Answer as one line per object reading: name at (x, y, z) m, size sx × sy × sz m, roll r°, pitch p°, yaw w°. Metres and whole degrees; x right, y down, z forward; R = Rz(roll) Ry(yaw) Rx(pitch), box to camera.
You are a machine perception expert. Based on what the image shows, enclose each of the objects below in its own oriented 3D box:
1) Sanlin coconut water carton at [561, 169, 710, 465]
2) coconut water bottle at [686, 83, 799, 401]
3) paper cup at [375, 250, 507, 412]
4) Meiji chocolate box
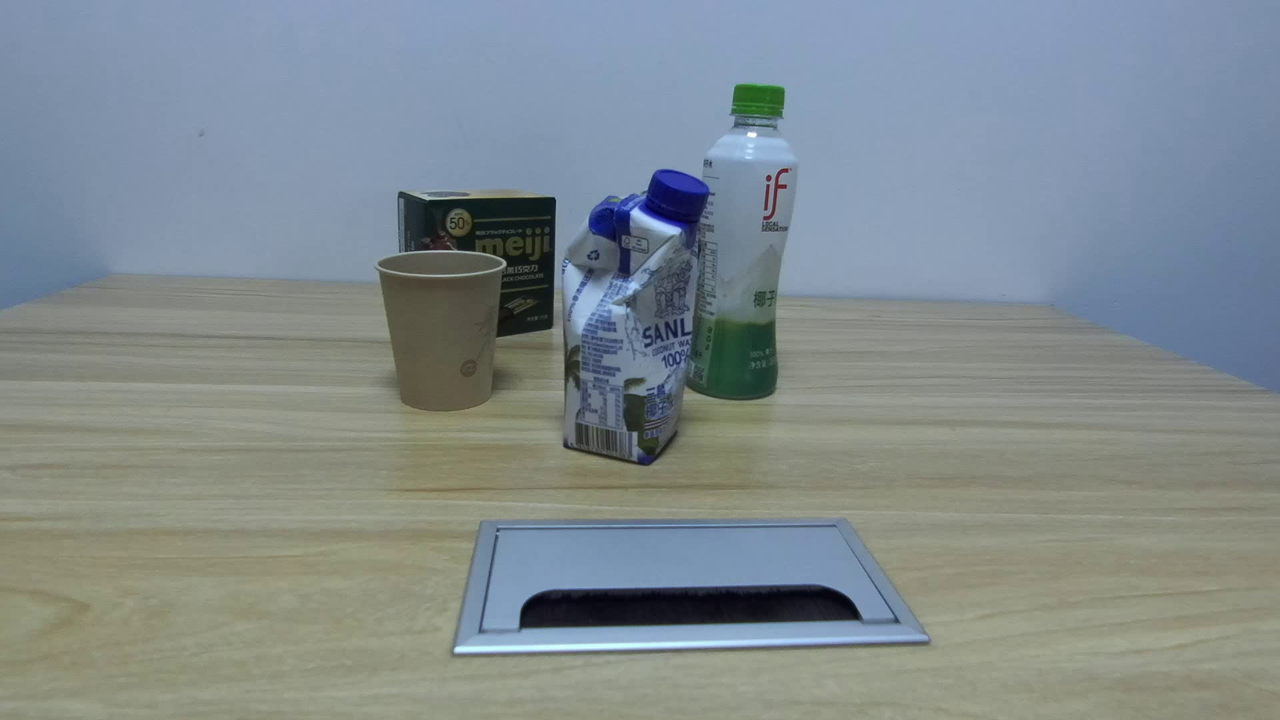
Sanlin coconut water carton at (-0.005, -0.024, 0.359) m, size 0.069 × 0.143 × 0.061 m, roll 11°, pitch 21°, yaw 18°
coconut water bottle at (0.066, -0.072, 0.445) m, size 0.063 × 0.188 × 0.063 m, roll 4°, pitch 17°, yaw -1°
paper cup at (-0.117, -0.017, 0.422) m, size 0.075 × 0.082 × 0.075 m, roll 3°, pitch 18°, yaw -1°
Meiji chocolate box at (-0.122, -0.071, 0.540) m, size 0.110 × 0.109 × 0.056 m, roll -9°, pitch 18°, yaw -34°
